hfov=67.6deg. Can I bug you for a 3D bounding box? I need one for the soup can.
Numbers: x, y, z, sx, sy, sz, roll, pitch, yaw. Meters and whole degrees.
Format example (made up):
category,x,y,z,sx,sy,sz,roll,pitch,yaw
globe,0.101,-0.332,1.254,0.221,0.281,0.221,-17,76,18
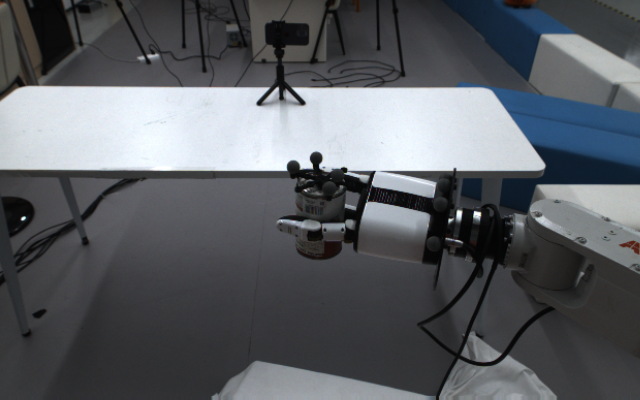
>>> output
category,x,y,z,sx,sy,sz,roll,pitch,yaw
soup can,0.001,0.021,0.655,0.067,0.101,0.067,2,32,-1
